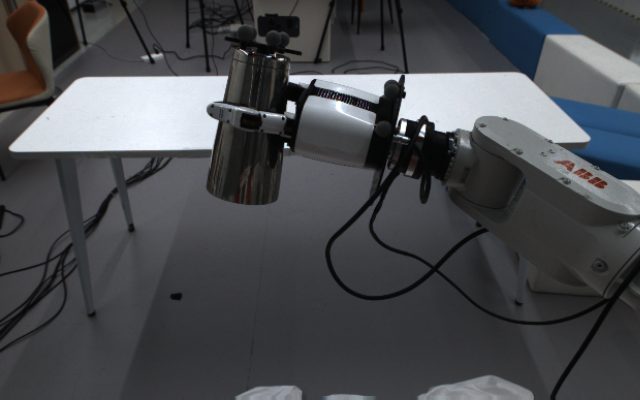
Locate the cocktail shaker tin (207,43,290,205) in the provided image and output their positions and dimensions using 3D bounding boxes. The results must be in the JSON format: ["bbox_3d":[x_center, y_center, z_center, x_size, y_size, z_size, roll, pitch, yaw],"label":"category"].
[{"bbox_3d":[-0.081,-0.090,0.585,0.093,0.170,0.093,11,19,-4],"label":"cocktail shaker tin"}]
